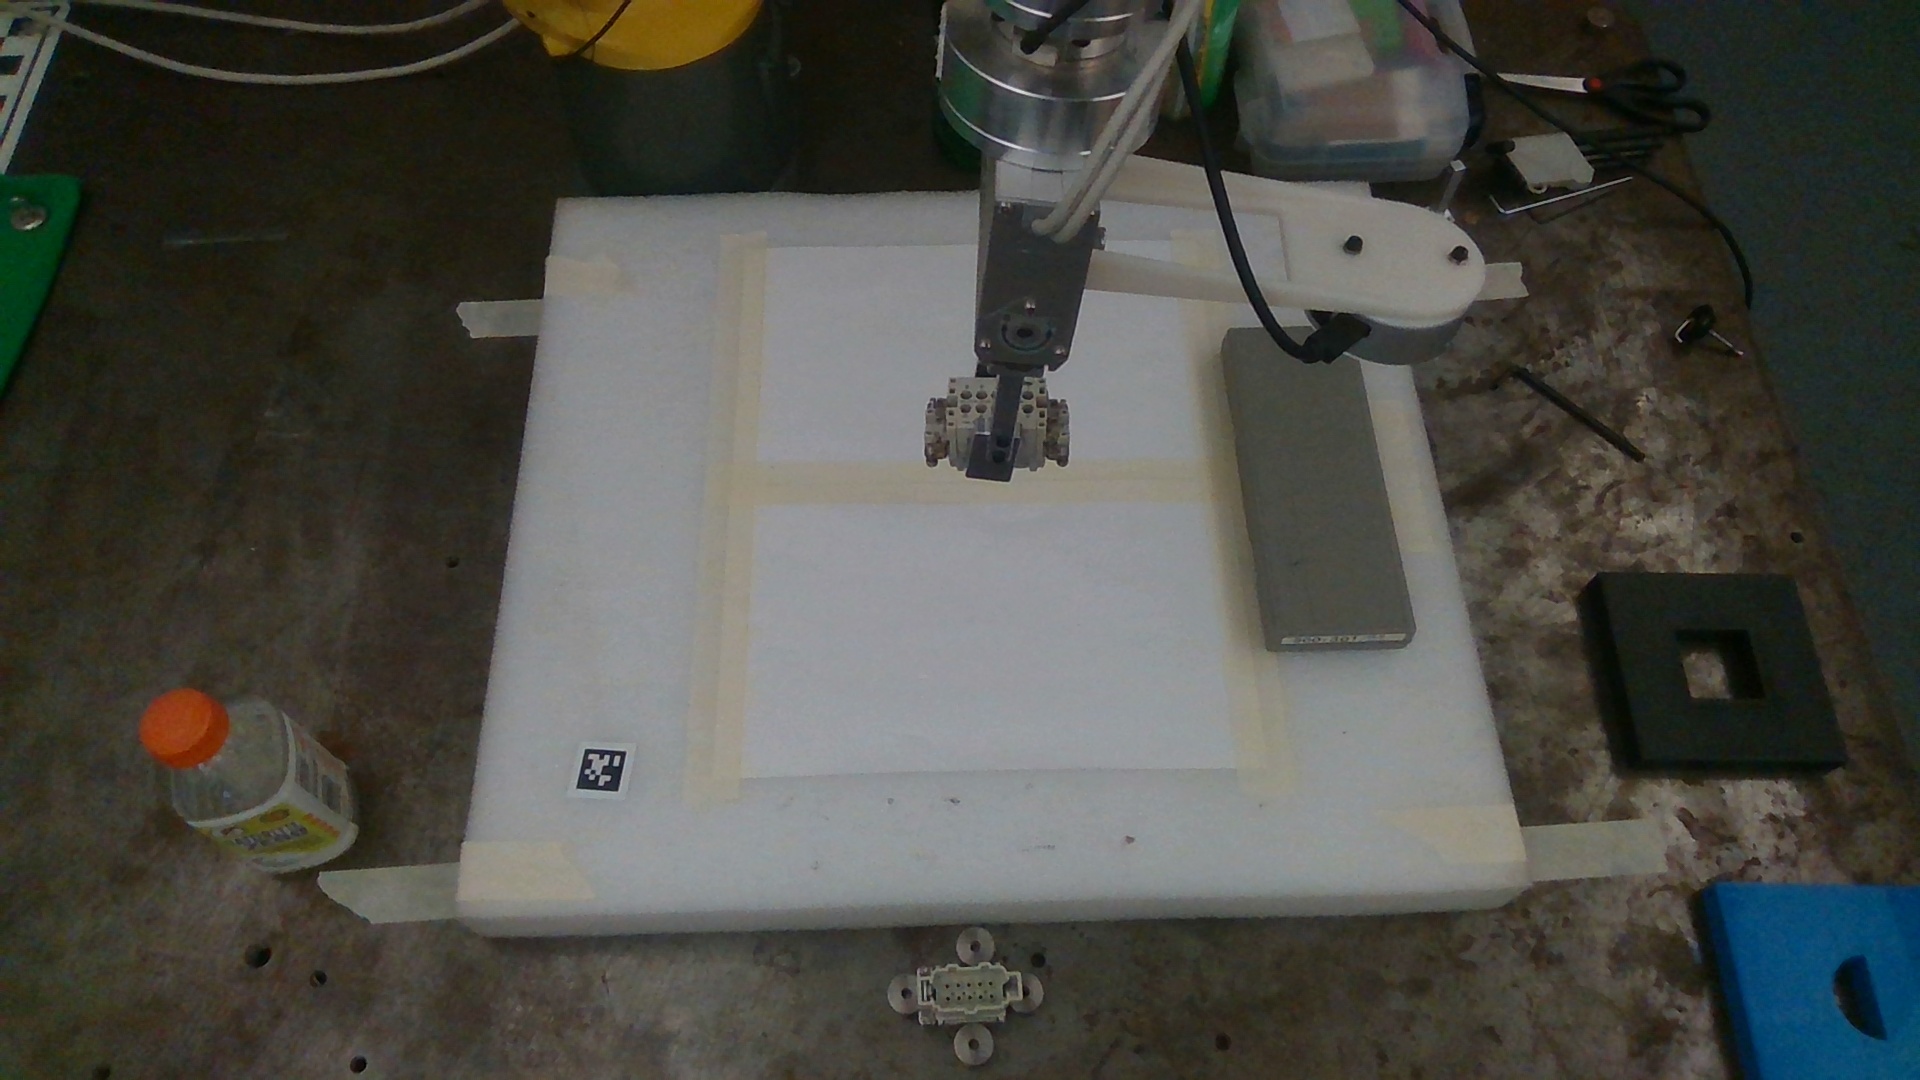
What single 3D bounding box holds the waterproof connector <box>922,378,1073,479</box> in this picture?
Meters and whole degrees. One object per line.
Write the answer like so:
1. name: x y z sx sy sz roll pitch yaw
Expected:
1. waterproof connector: 0.017 -0.050 0.639 0.069 0.038 0.037 -1 56 7
